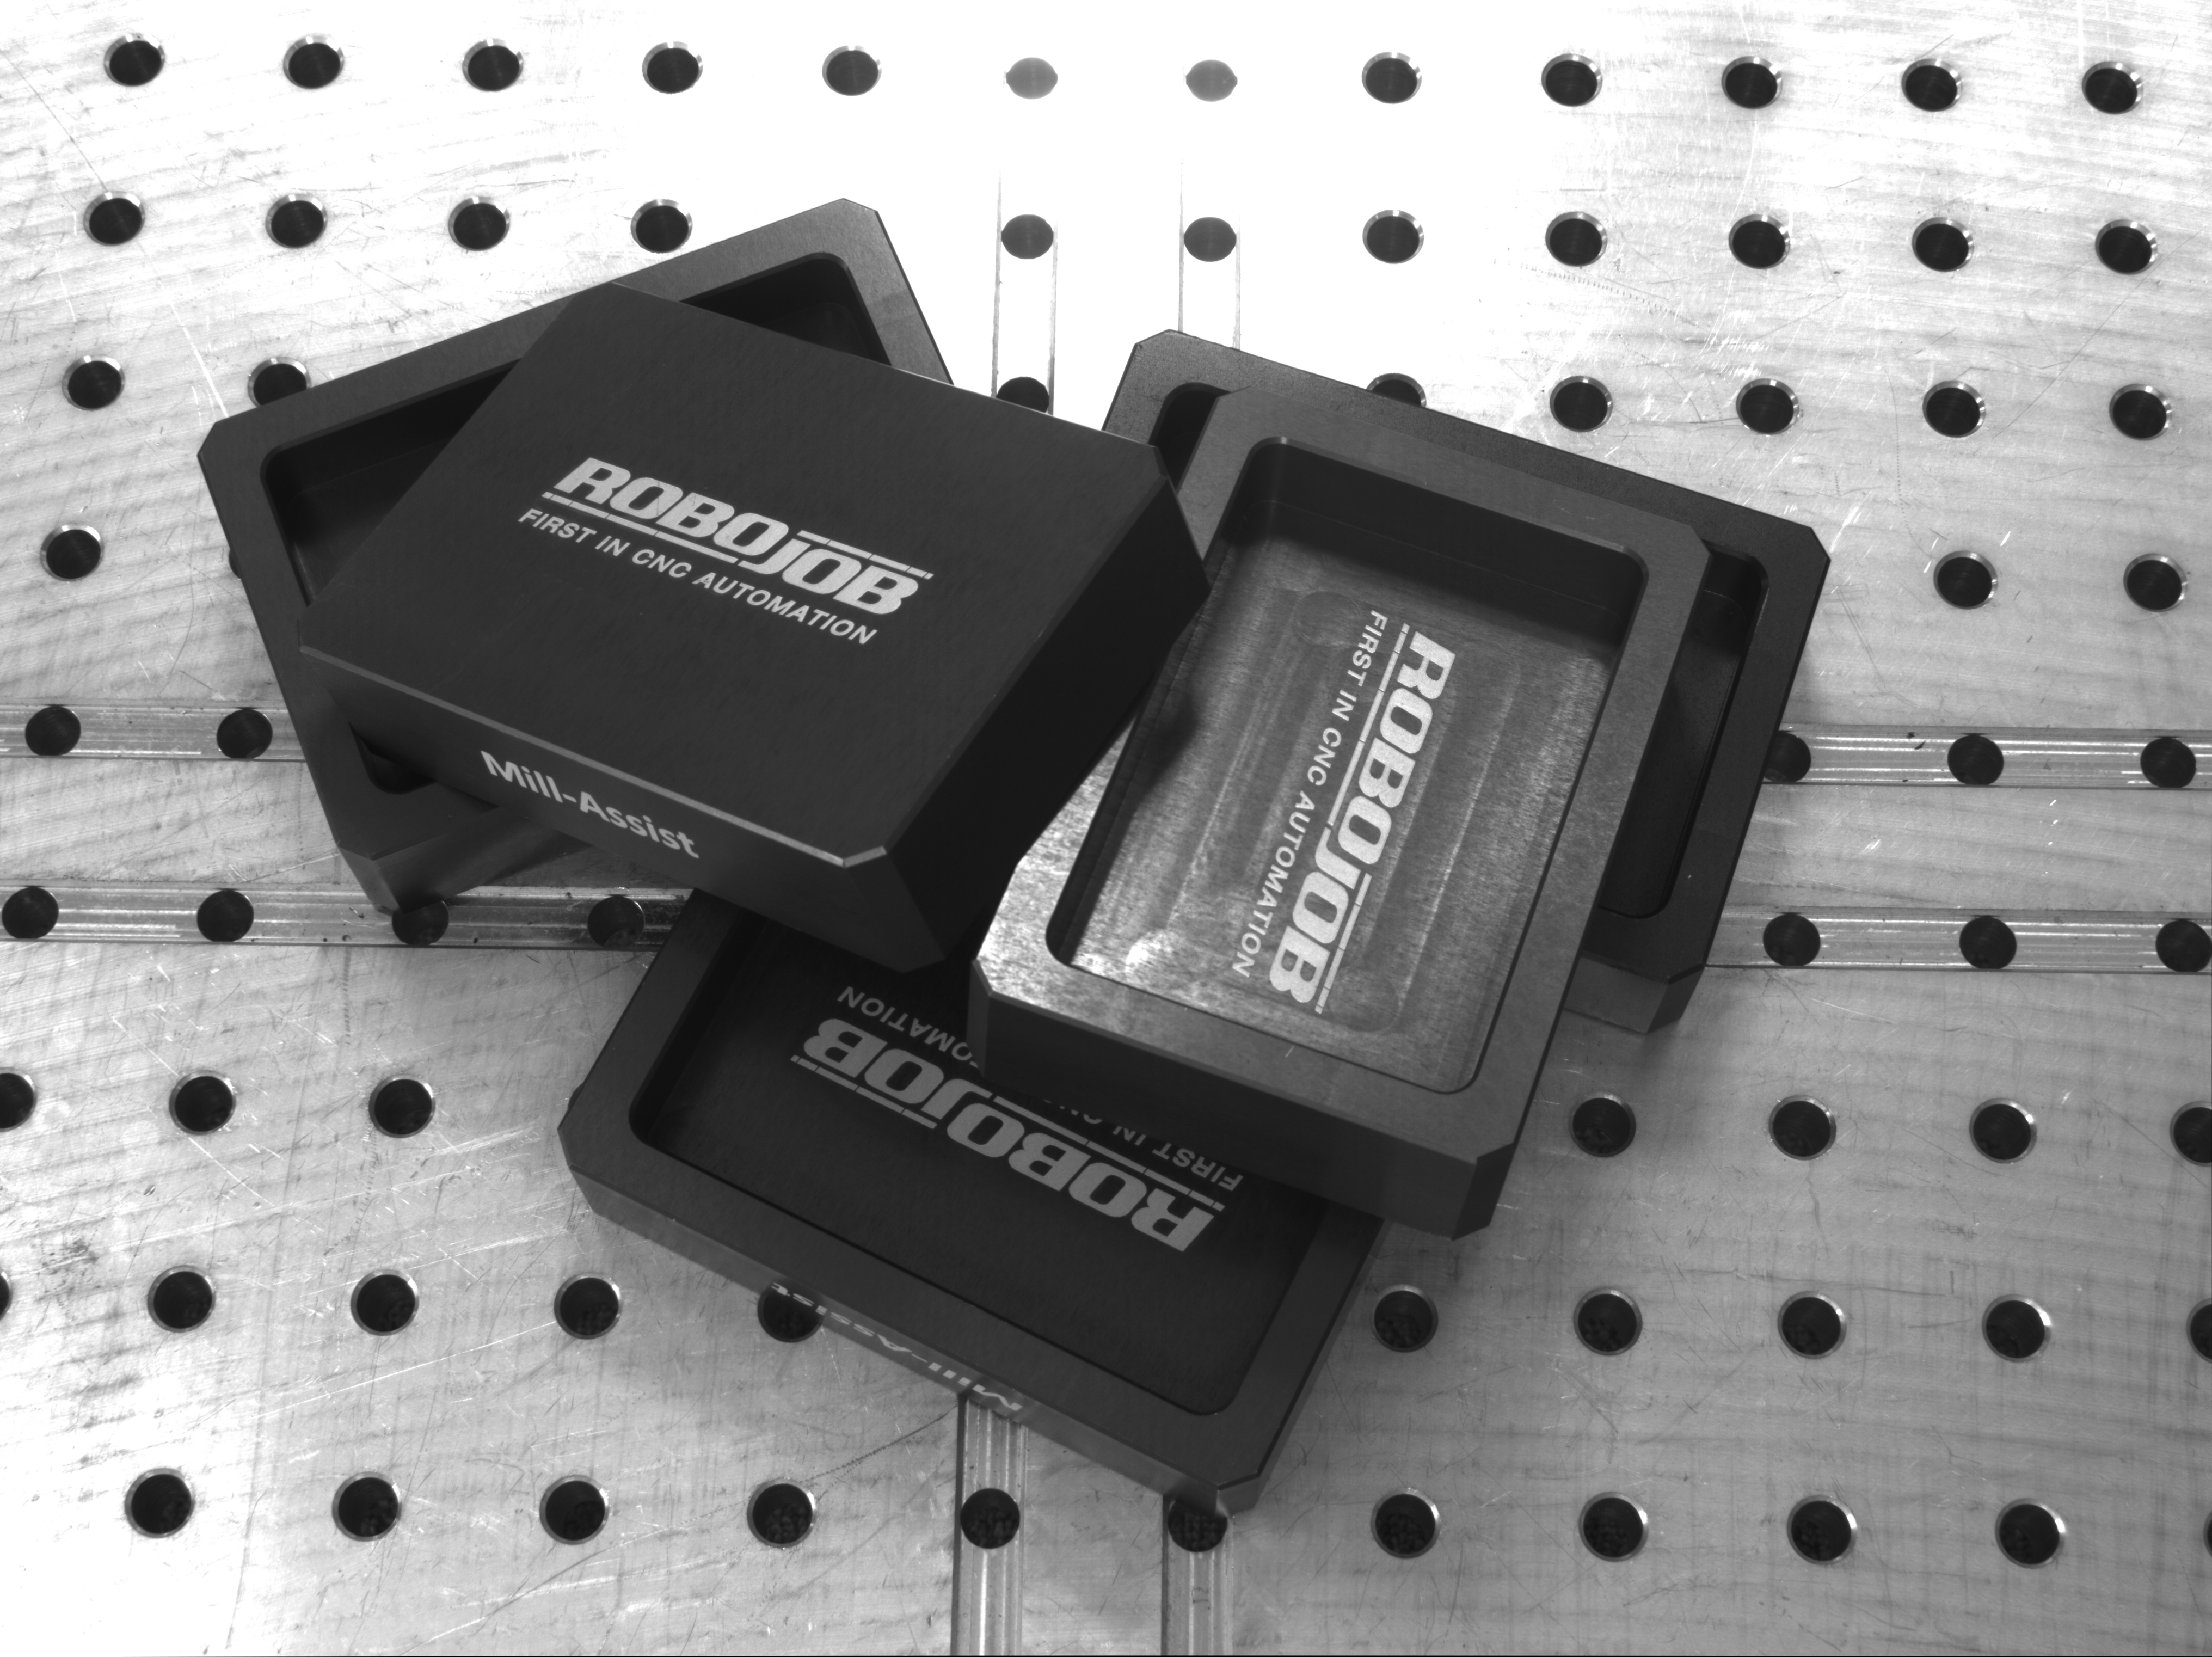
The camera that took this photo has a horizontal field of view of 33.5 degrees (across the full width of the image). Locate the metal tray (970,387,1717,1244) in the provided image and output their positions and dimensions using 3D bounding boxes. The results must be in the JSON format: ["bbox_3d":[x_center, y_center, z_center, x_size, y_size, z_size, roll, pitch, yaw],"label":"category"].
[{"bbox_3d":[0.041,-0.005,0.614,0.090,0.030,0.130,19,59,7],"label":"metal tray"}]

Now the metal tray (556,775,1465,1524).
[{"bbox_3d":[-0.016,0.049,0.627,0.130,0.030,0.090,25,72,9],"label":"metal tray"}]

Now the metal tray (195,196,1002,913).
[{"bbox_3d":[-0.087,-0.050,0.663,0.130,0.030,0.090,-21,71,-7],"label":"metal tray"}]

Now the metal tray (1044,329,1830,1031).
[{"bbox_3d":[0.053,-0.027,0.654,0.130,0.030,0.090,18,70,7],"label":"metal tray"}]

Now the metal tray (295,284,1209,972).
[{"bbox_3d":[-0.060,-0.037,0.616,0.130,0.030,0.090,20,62,31],"label":"metal tray"}]
